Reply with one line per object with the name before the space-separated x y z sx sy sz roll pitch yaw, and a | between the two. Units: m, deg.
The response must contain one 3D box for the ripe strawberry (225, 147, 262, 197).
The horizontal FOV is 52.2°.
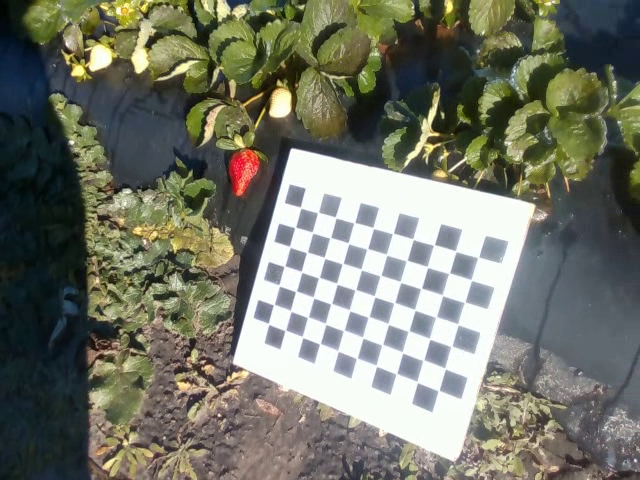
ripe strawberry | -0.097 -0.082 0.797 0.048 0.069 0.040 -4 -12 27
